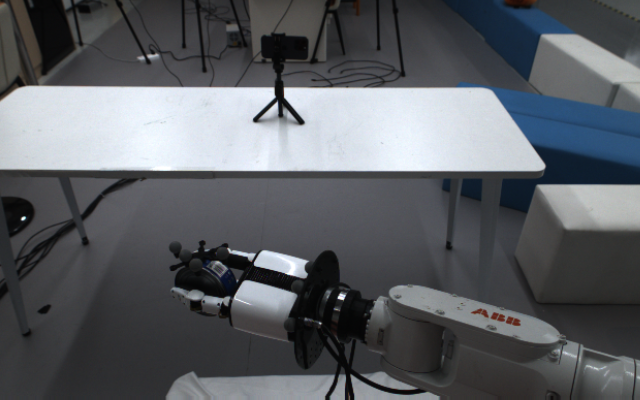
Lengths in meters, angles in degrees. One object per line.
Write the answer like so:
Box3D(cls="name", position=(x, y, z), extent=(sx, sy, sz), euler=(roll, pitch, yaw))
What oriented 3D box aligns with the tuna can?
Box3D(cls="tuna can", position=(-0.162, 0.123, 0.695), extent=(0.085, 0.085, 0.034), euler=(14, 29, 17))
